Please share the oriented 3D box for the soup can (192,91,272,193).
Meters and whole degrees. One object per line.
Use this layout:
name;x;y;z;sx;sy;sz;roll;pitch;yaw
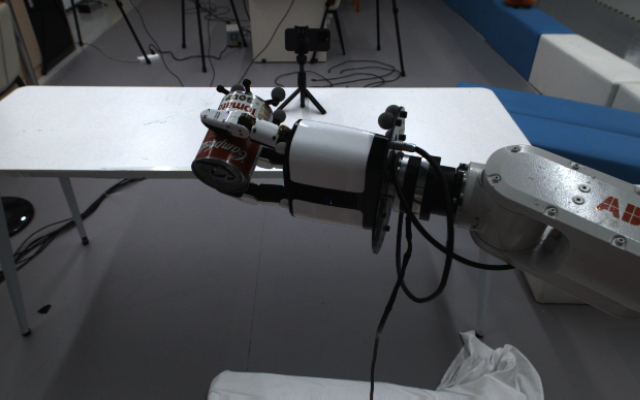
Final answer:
soup can;-0.099;-0.069;0.568;0.067;0.067;0.101;9;60;10
